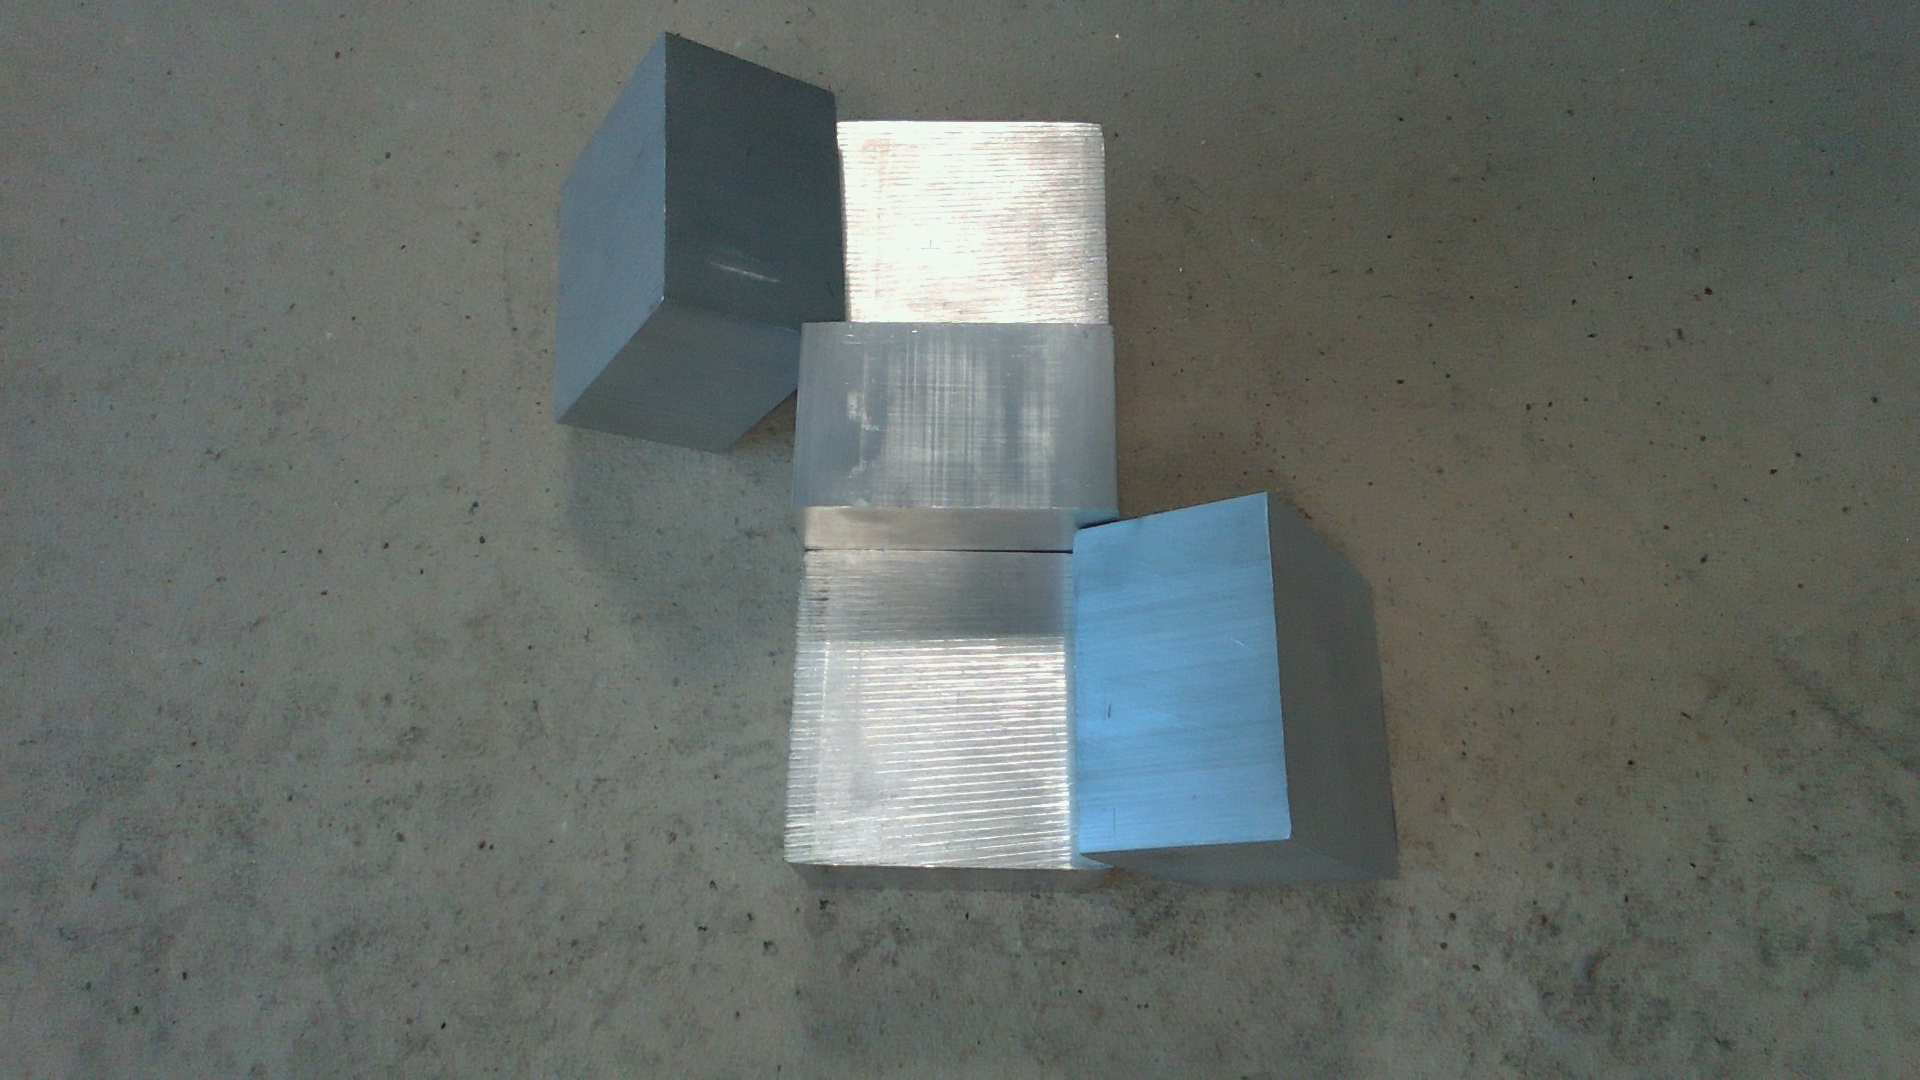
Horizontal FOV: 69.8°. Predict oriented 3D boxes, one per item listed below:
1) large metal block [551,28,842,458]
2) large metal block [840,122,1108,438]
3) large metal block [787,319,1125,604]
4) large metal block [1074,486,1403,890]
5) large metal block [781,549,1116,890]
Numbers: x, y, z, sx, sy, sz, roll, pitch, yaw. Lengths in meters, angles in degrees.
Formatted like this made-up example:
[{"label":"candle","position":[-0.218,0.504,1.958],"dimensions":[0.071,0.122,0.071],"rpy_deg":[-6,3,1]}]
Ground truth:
[{"label":"large metal block","position":[-0.075,-0.079,0.387],"dimensions":[0.050,0.080,0.080],"rpy_deg":[10,66,-33]},{"label":"large metal block","position":[0.001,-0.074,0.407],"dimensions":[0.080,0.050,0.080],"rpy_deg":[0,69,1]},{"label":"large metal block","position":[-0.001,-0.018,0.372],"dimensions":[0.080,0.080,0.050],"rpy_deg":[0,70,0]},{"label":"large metal block","position":[0.070,0.042,0.343],"dimensions":[0.050,0.080,0.080],"rpy_deg":[-12,67,30]},{"label":"large metal block","position":[-0.002,0.049,0.364],"dimensions":[0.080,0.050,0.080],"rpy_deg":[1,71,1]}]
